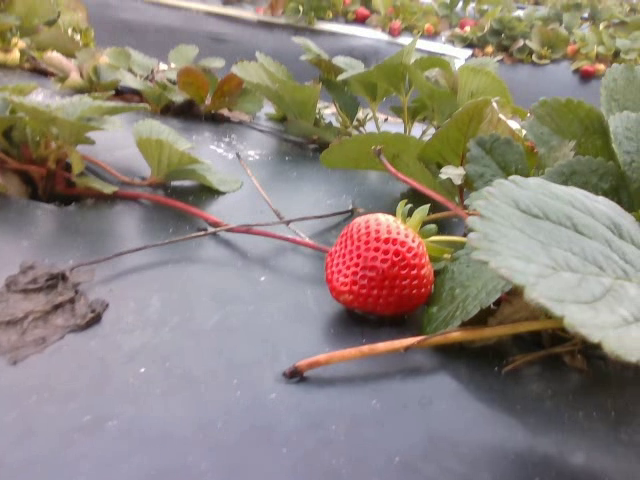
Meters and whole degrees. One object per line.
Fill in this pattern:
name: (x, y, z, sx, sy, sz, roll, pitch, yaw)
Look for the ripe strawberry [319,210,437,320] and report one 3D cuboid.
ripe strawberry: (0.025, 0.009, 0.302, 0.061, 0.065, 0.050, 33, -24, 25)
